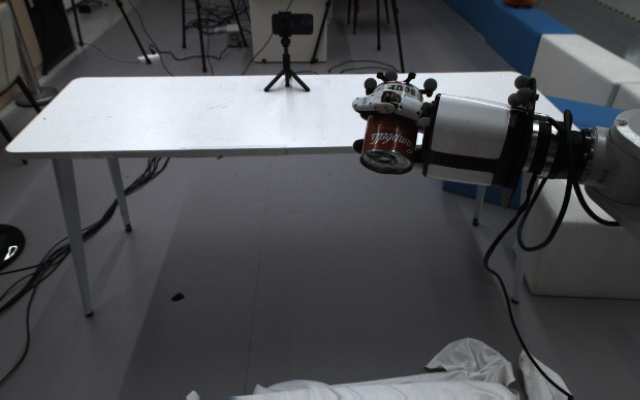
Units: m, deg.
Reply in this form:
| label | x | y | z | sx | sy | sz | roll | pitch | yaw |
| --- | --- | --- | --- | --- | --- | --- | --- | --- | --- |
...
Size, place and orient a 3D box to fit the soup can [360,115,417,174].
| label | x | y | z | sx | sy | sz | roll | pitch | yaw |
| --- | --- | --- | --- | --- | --- | --- | --- | --- | --- |
| soup can | 0.094 | -0.093 | 0.620 | 0.067 | 0.067 | 0.101 | 9 | 70 | 10 |
